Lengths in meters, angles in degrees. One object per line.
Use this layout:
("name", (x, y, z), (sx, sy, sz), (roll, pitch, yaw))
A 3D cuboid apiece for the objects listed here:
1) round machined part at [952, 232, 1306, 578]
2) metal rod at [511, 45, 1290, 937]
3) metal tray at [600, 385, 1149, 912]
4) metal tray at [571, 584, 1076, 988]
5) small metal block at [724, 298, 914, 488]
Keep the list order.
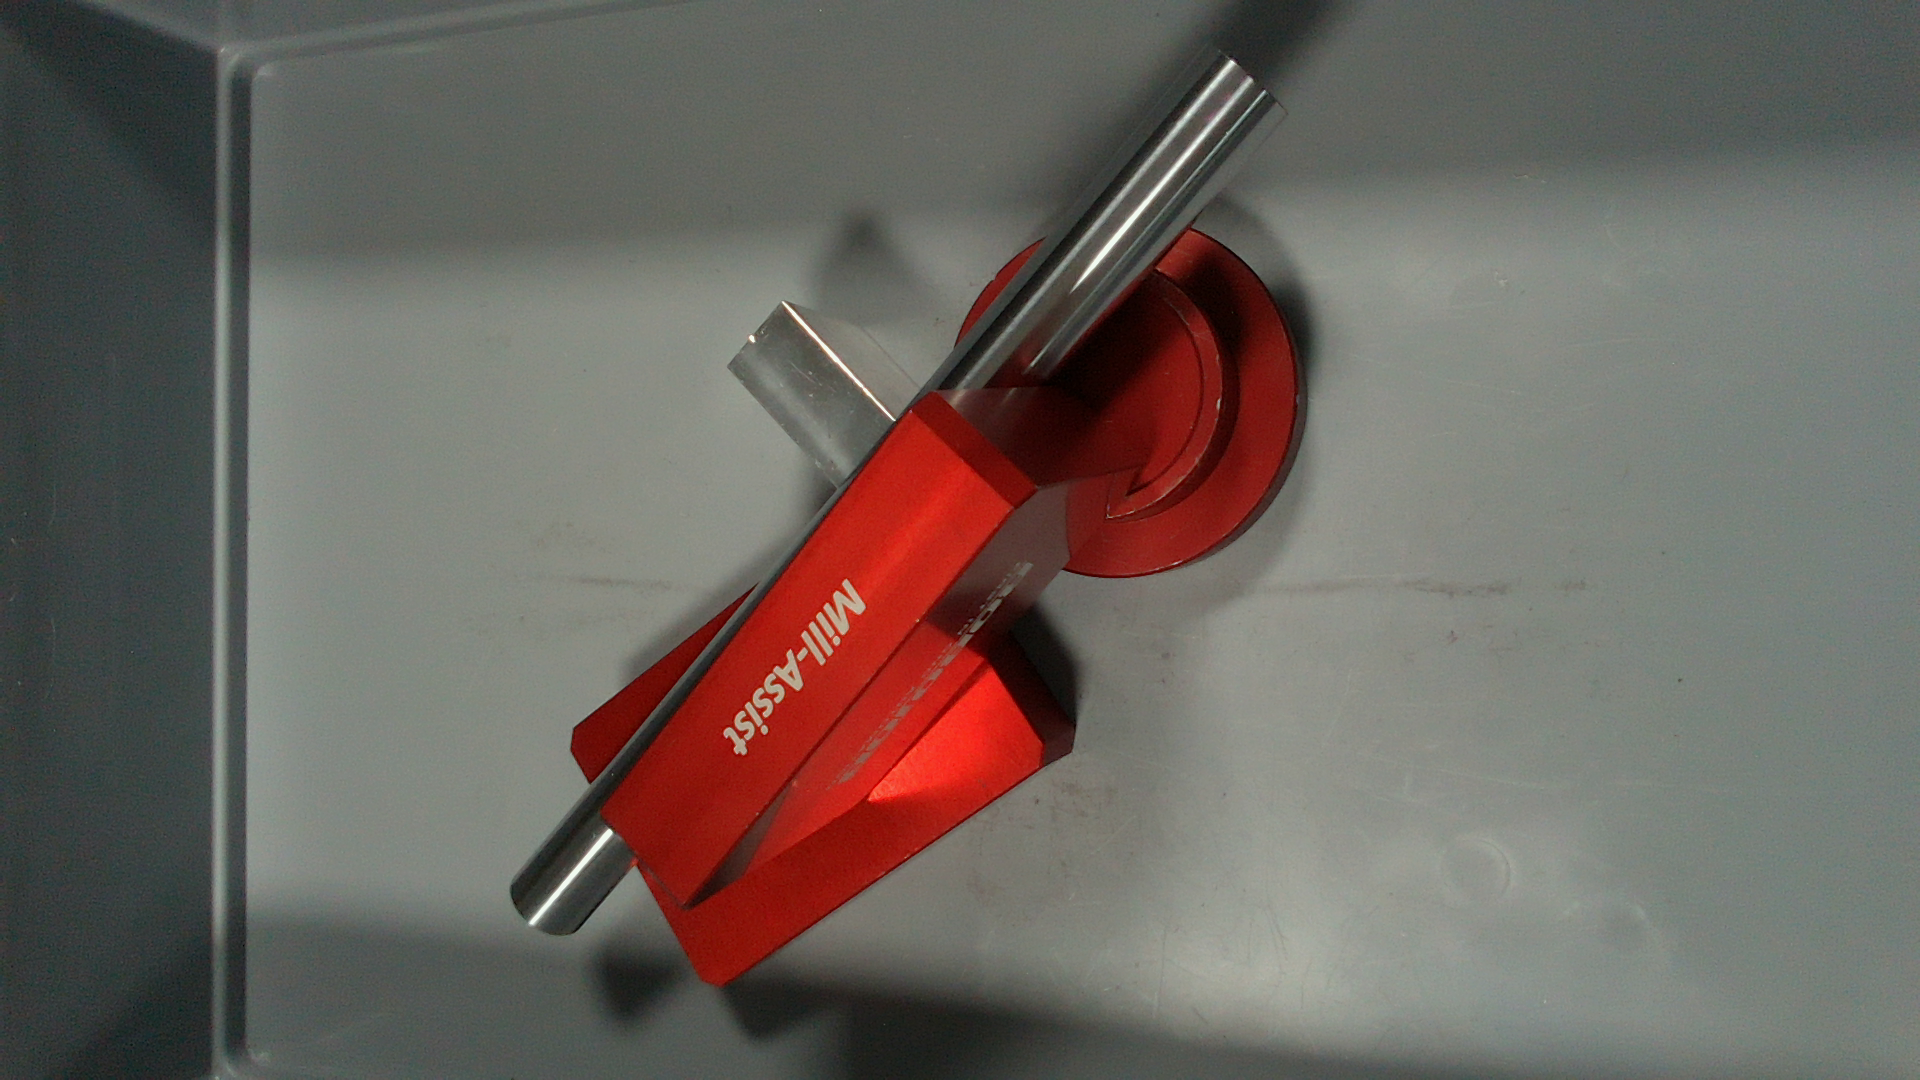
("round machined part", (0.041, -0.039, 0.370), (0.098, 0.042, 0.098), (0, 90, 20))
("metal rod", (-0.028, 0.001, 0.363), (0.025, 0.025, 0.299), (46, 108, 14))
("metal tray", (-0.018, 0.022, 0.326), (0.030, 0.090, 0.130), (44, 110, 12))
("metal tray", (-0.043, 0.060, 0.408), (0.130, 0.030, 0.090), (-37, 78, 16))
("small metal block", (-0.031, -0.039, 0.393), (0.025, 0.050, 0.050), (-46, 76, 14))
